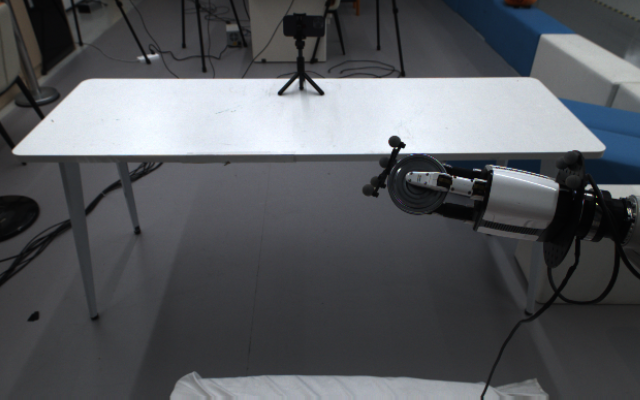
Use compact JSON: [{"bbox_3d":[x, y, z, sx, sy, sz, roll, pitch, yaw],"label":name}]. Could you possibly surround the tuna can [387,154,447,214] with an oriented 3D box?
[{"bbox_3d":[0.141,-0.024,0.687,0.085,0.085,0.034,9,-5,9],"label":"tuna can"}]
